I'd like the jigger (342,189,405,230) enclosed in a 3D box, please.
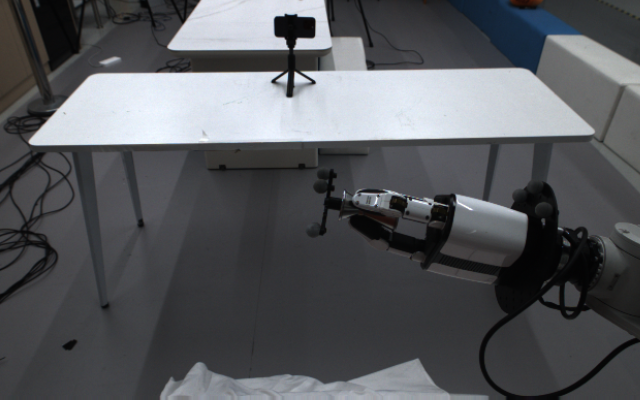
[{"bbox_3d":[0.066,0.009,0.580,0.071,0.043,0.043,10,35,2],"label":"jigger"}]
